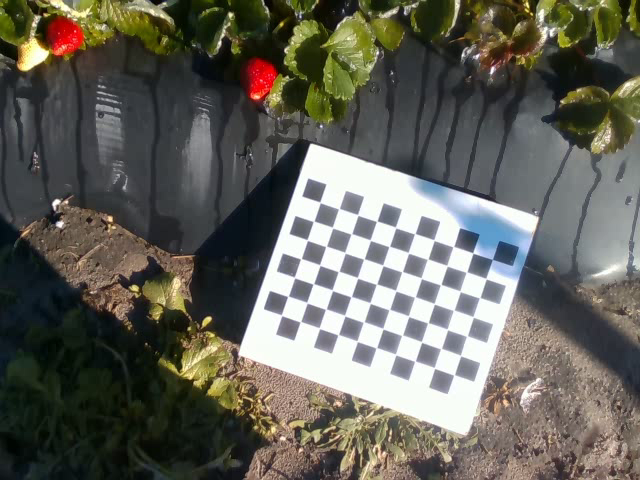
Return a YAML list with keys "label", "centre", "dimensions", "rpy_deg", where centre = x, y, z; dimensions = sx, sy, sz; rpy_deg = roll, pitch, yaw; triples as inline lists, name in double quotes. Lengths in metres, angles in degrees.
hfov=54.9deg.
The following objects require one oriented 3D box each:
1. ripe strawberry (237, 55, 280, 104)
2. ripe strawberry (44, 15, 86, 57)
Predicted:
- label: "ripe strawberry"
  centre: [-0.061, -0.153, 0.587]
  dimensions: [0.041, 0.053, 0.047]
  rpy_deg: [12, -41, 2]
- label: "ripe strawberry"
  centre: [-0.253, -0.196, 0.595]
  dimensions: [0.037, 0.040, 0.051]
  rpy_deg: [4, 40, 2]
